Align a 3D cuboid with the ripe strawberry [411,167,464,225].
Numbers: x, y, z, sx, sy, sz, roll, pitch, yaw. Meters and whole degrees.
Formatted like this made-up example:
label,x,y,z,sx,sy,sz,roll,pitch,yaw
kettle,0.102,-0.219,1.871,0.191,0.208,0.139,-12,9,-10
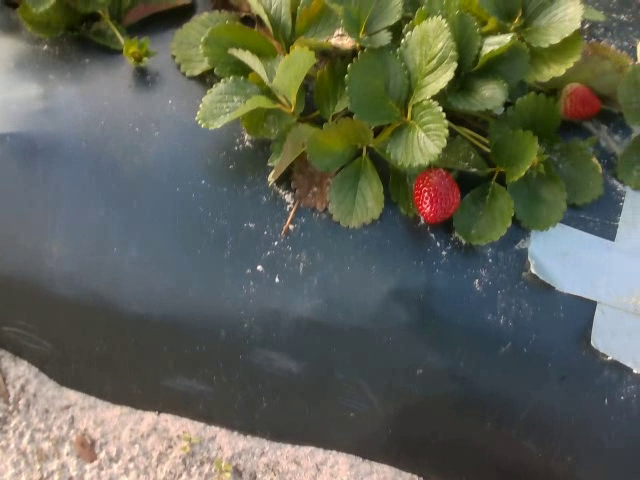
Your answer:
label,x,y,z,sx,sy,sz,roll,pitch,yaw
ripe strawberry,0.040,-0.014,0.201,0.018,0.023,0.021,5,-40,19
